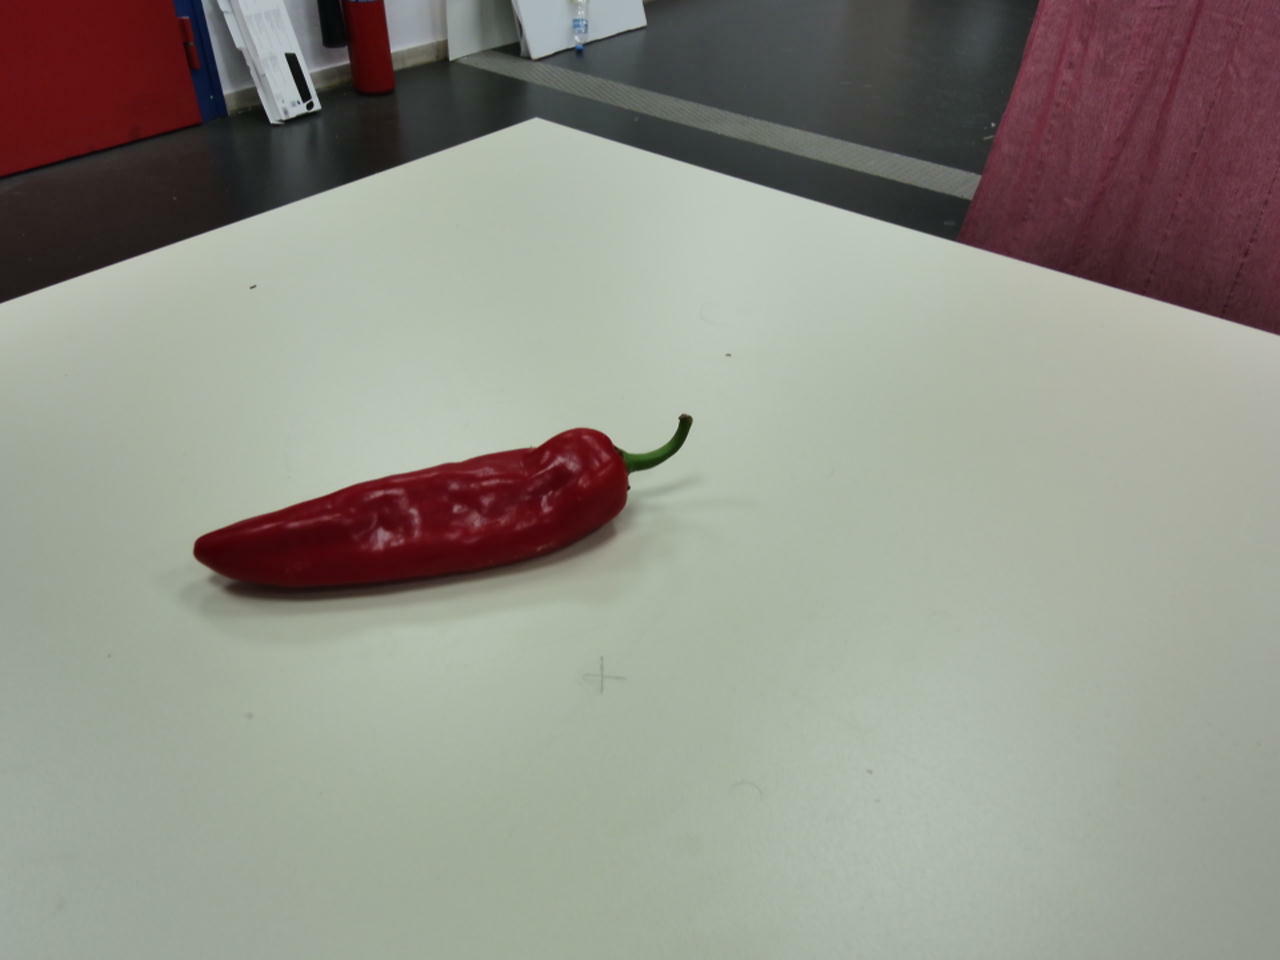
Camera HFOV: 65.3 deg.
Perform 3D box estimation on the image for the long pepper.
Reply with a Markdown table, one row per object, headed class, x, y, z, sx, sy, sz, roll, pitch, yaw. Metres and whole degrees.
| class | x | y | z | sx | sy | sz | roll | pitch | yaw |
| --- | --- | --- | --- | --- | --- | --- | --- | --- | --- |
| long pepper | -0.073 | 0.011 | 0.413 | 0.211 | 0.043 | 0.050 | -12 | 38 | -17 |
